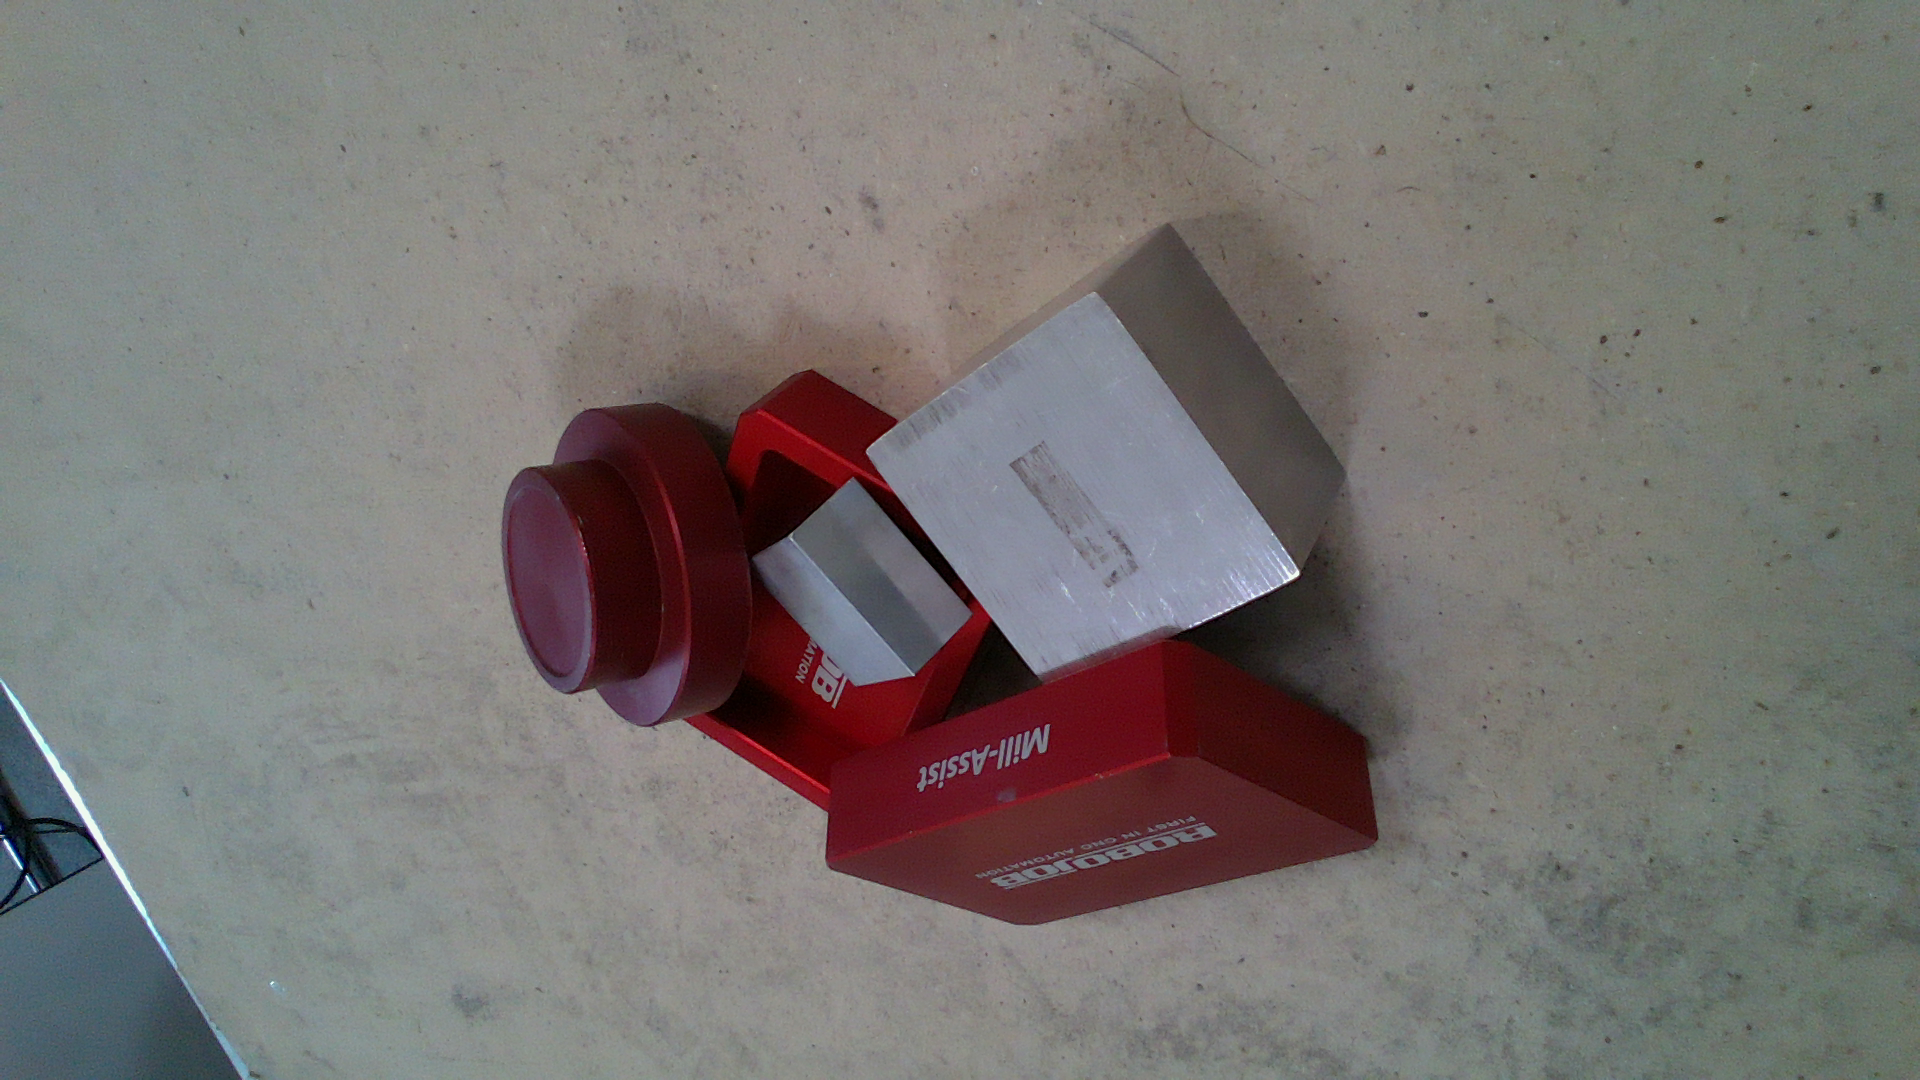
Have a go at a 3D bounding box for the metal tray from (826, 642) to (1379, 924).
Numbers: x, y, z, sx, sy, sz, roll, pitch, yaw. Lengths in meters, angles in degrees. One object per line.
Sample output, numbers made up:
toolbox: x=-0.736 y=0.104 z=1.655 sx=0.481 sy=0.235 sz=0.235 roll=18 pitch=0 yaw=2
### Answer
metal tray: x=0.037 y=0.074 z=0.386 sx=0.129 sy=0.030 sz=0.090 roll=-25 pitch=141 yaw=37

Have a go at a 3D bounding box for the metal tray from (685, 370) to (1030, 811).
metal tray: x=-0.037 y=0.024 z=0.424 sx=0.090 sy=0.030 sz=0.130 roll=30 pitch=129 yaw=9

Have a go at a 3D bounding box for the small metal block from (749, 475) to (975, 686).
small metal block: x=-0.030 y=0.013 z=0.388 sx=0.050 sy=0.025 sz=0.050 roll=49 pitch=157 yaw=-9

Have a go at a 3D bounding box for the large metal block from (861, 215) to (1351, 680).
large metal block: x=0.037 y=-0.020 z=0.345 sx=0.080 sy=0.050 sz=0.080 roll=-30 pitch=102 yaw=38

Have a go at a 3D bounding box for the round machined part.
round machined part: x=-0.106 y=0.009 z=0.417 sx=0.098 sy=0.042 sz=0.098 roll=18 pitch=113 yaw=50
